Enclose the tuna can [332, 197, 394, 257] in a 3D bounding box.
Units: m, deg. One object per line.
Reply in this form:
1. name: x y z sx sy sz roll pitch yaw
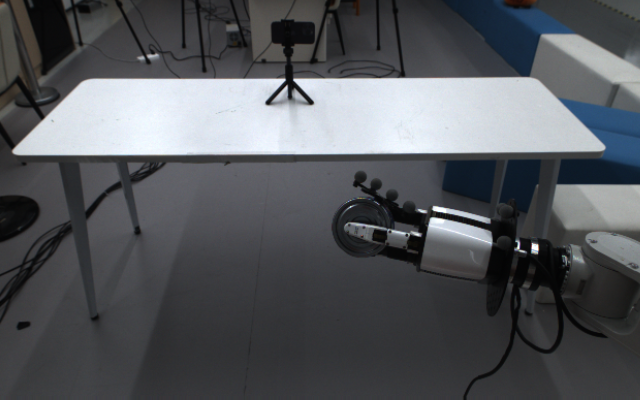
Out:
1. tuna can: 0.064 0.044 0.681 0.085 0.085 0.034 13 4 15
